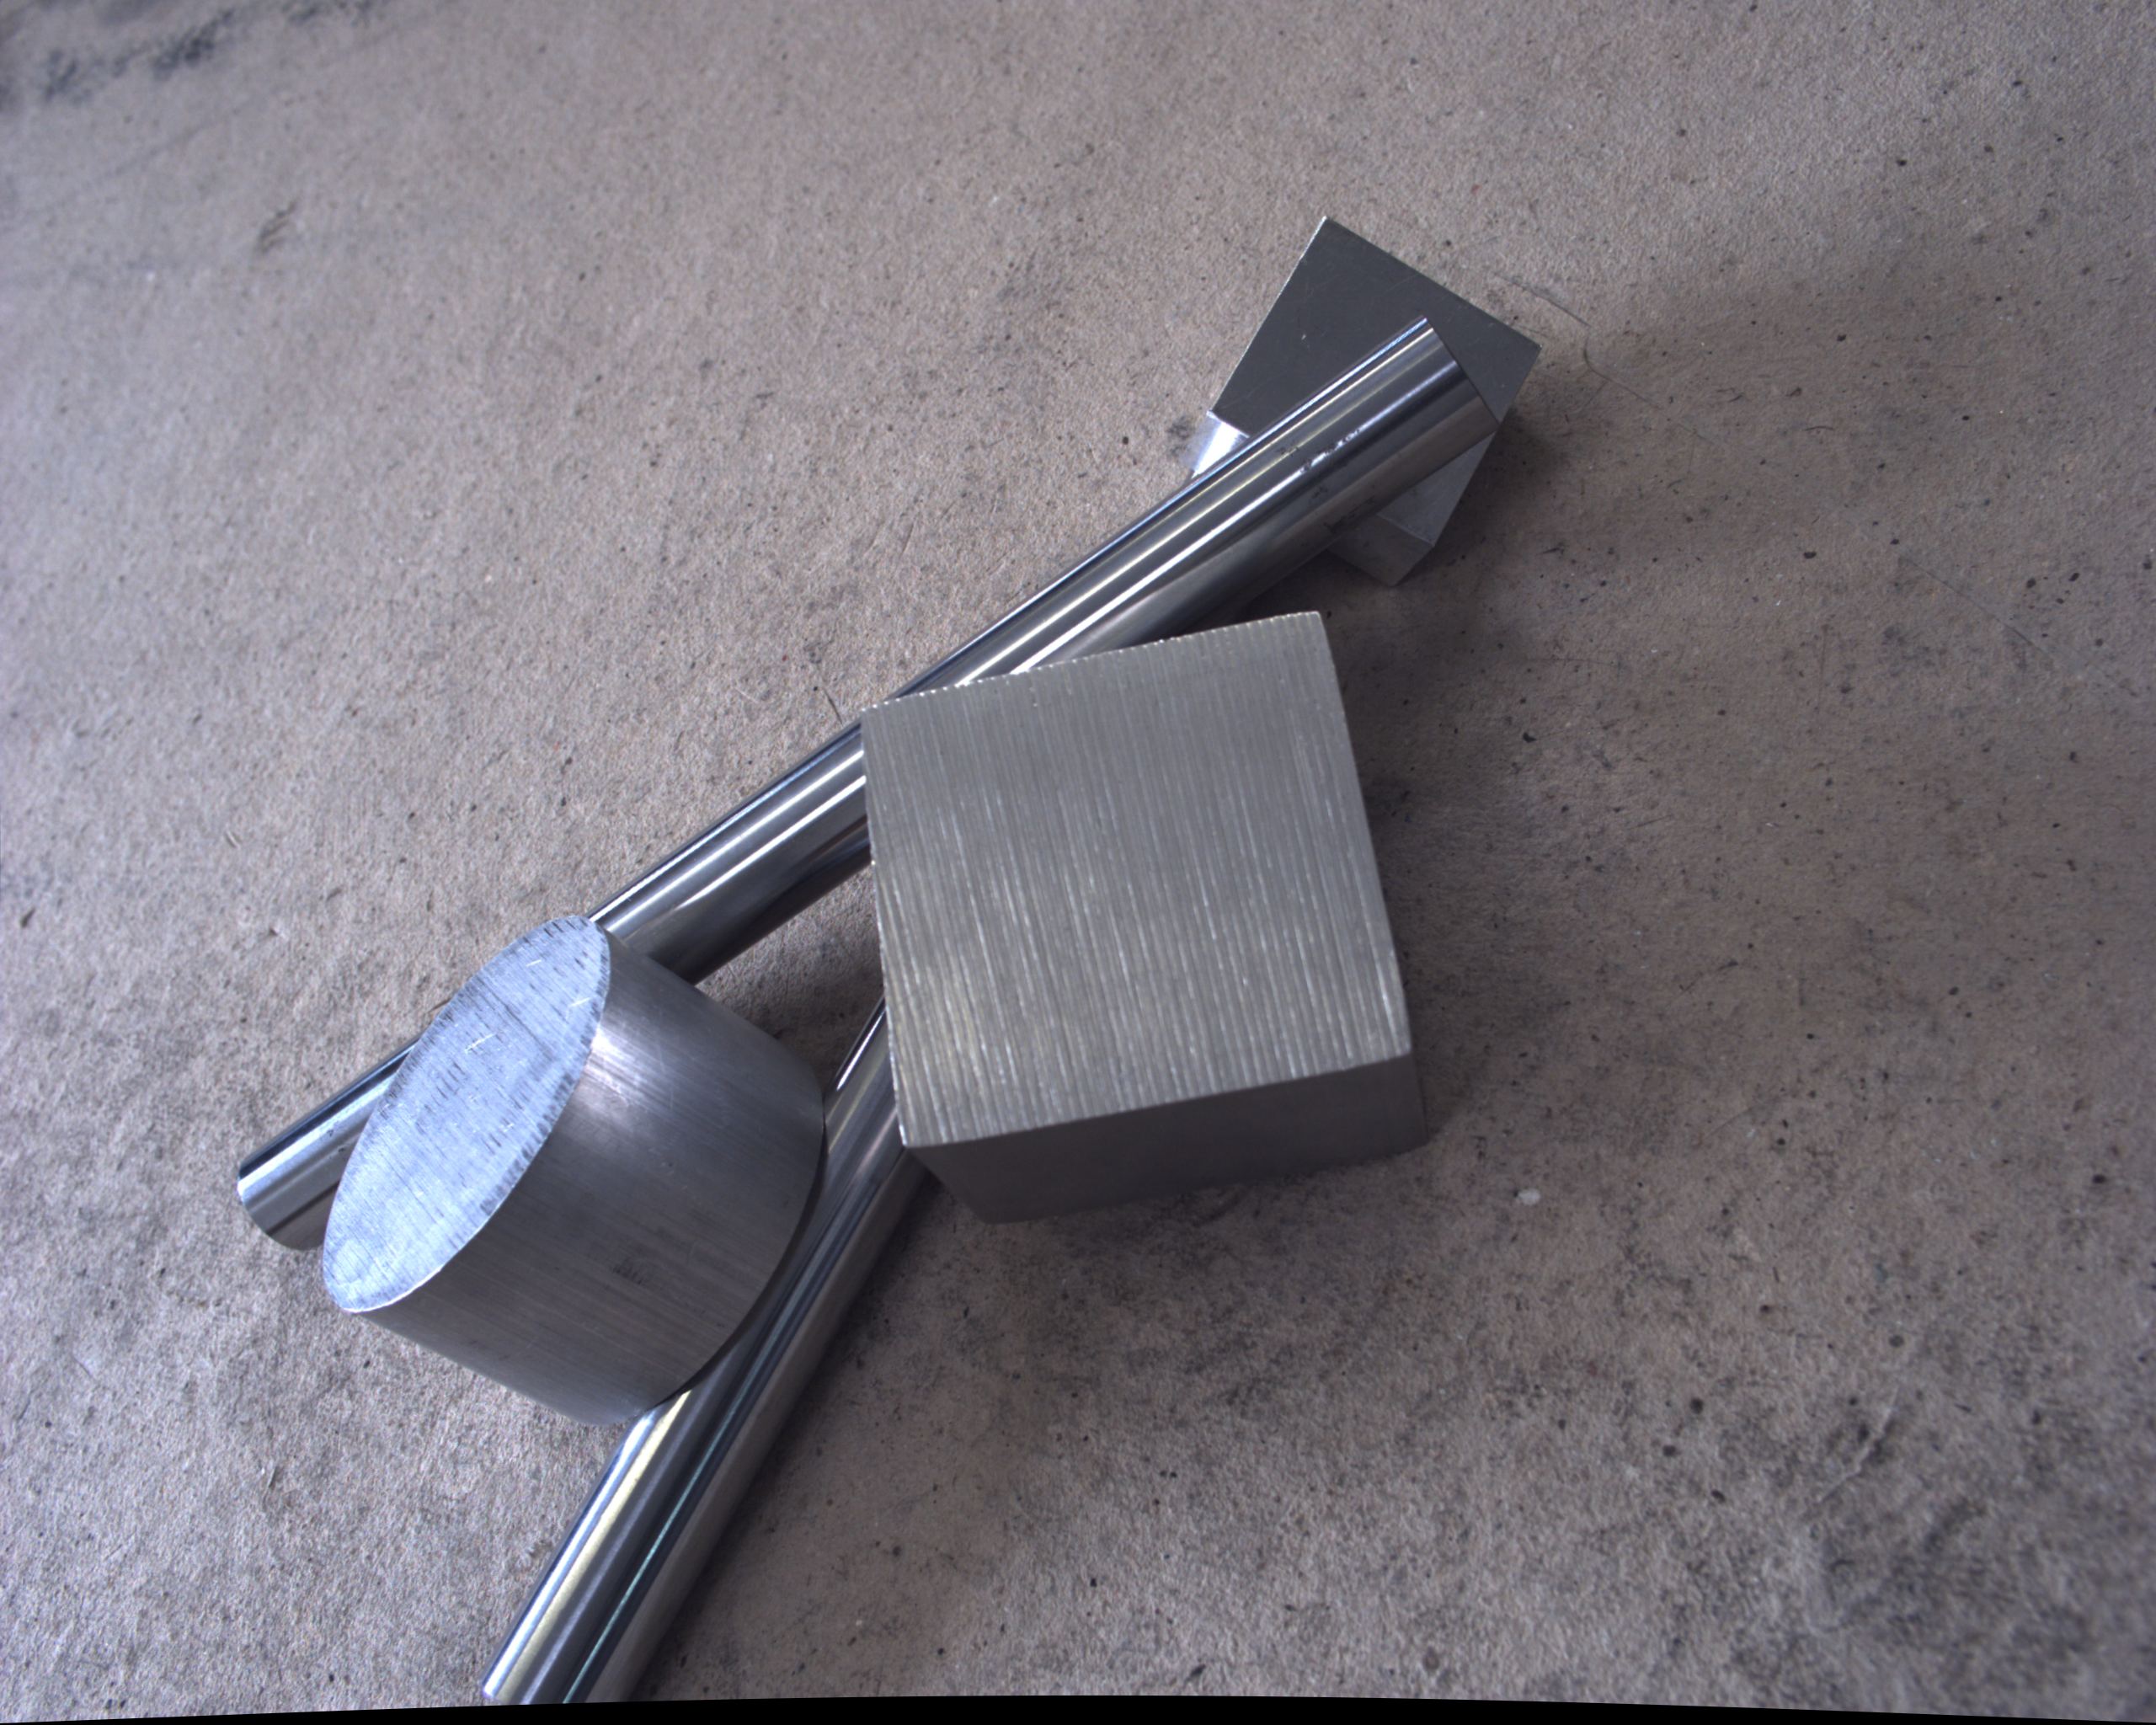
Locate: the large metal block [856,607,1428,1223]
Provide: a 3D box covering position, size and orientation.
[{"bbox_3d":[0.011,0.011,0.358,0.080,0.050,0.080,-11,65,7],"label":"large metal block"}]

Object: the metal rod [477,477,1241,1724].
[{"bbox_3d":[-0.022,0.022,0.403,0.025,0.025,0.300,19,71,35],"label":"metal rod"}]

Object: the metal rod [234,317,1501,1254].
[{"bbox_3d":[-0.051,-0.008,0.414,0.300,0.025,0.025,-34,51,14],"label":"metal rod"}]

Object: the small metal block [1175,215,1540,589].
[{"bbox_3d":[0.055,-0.091,0.416,0.050,0.025,0.050,30,74,-3],"label":"small metal block"}]

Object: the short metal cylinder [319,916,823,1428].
[{"bbox_3d":[-0.094,0.057,0.387,0.080,0.050,0.080,-33,35,27],"label":"short metal cylinder"}]
